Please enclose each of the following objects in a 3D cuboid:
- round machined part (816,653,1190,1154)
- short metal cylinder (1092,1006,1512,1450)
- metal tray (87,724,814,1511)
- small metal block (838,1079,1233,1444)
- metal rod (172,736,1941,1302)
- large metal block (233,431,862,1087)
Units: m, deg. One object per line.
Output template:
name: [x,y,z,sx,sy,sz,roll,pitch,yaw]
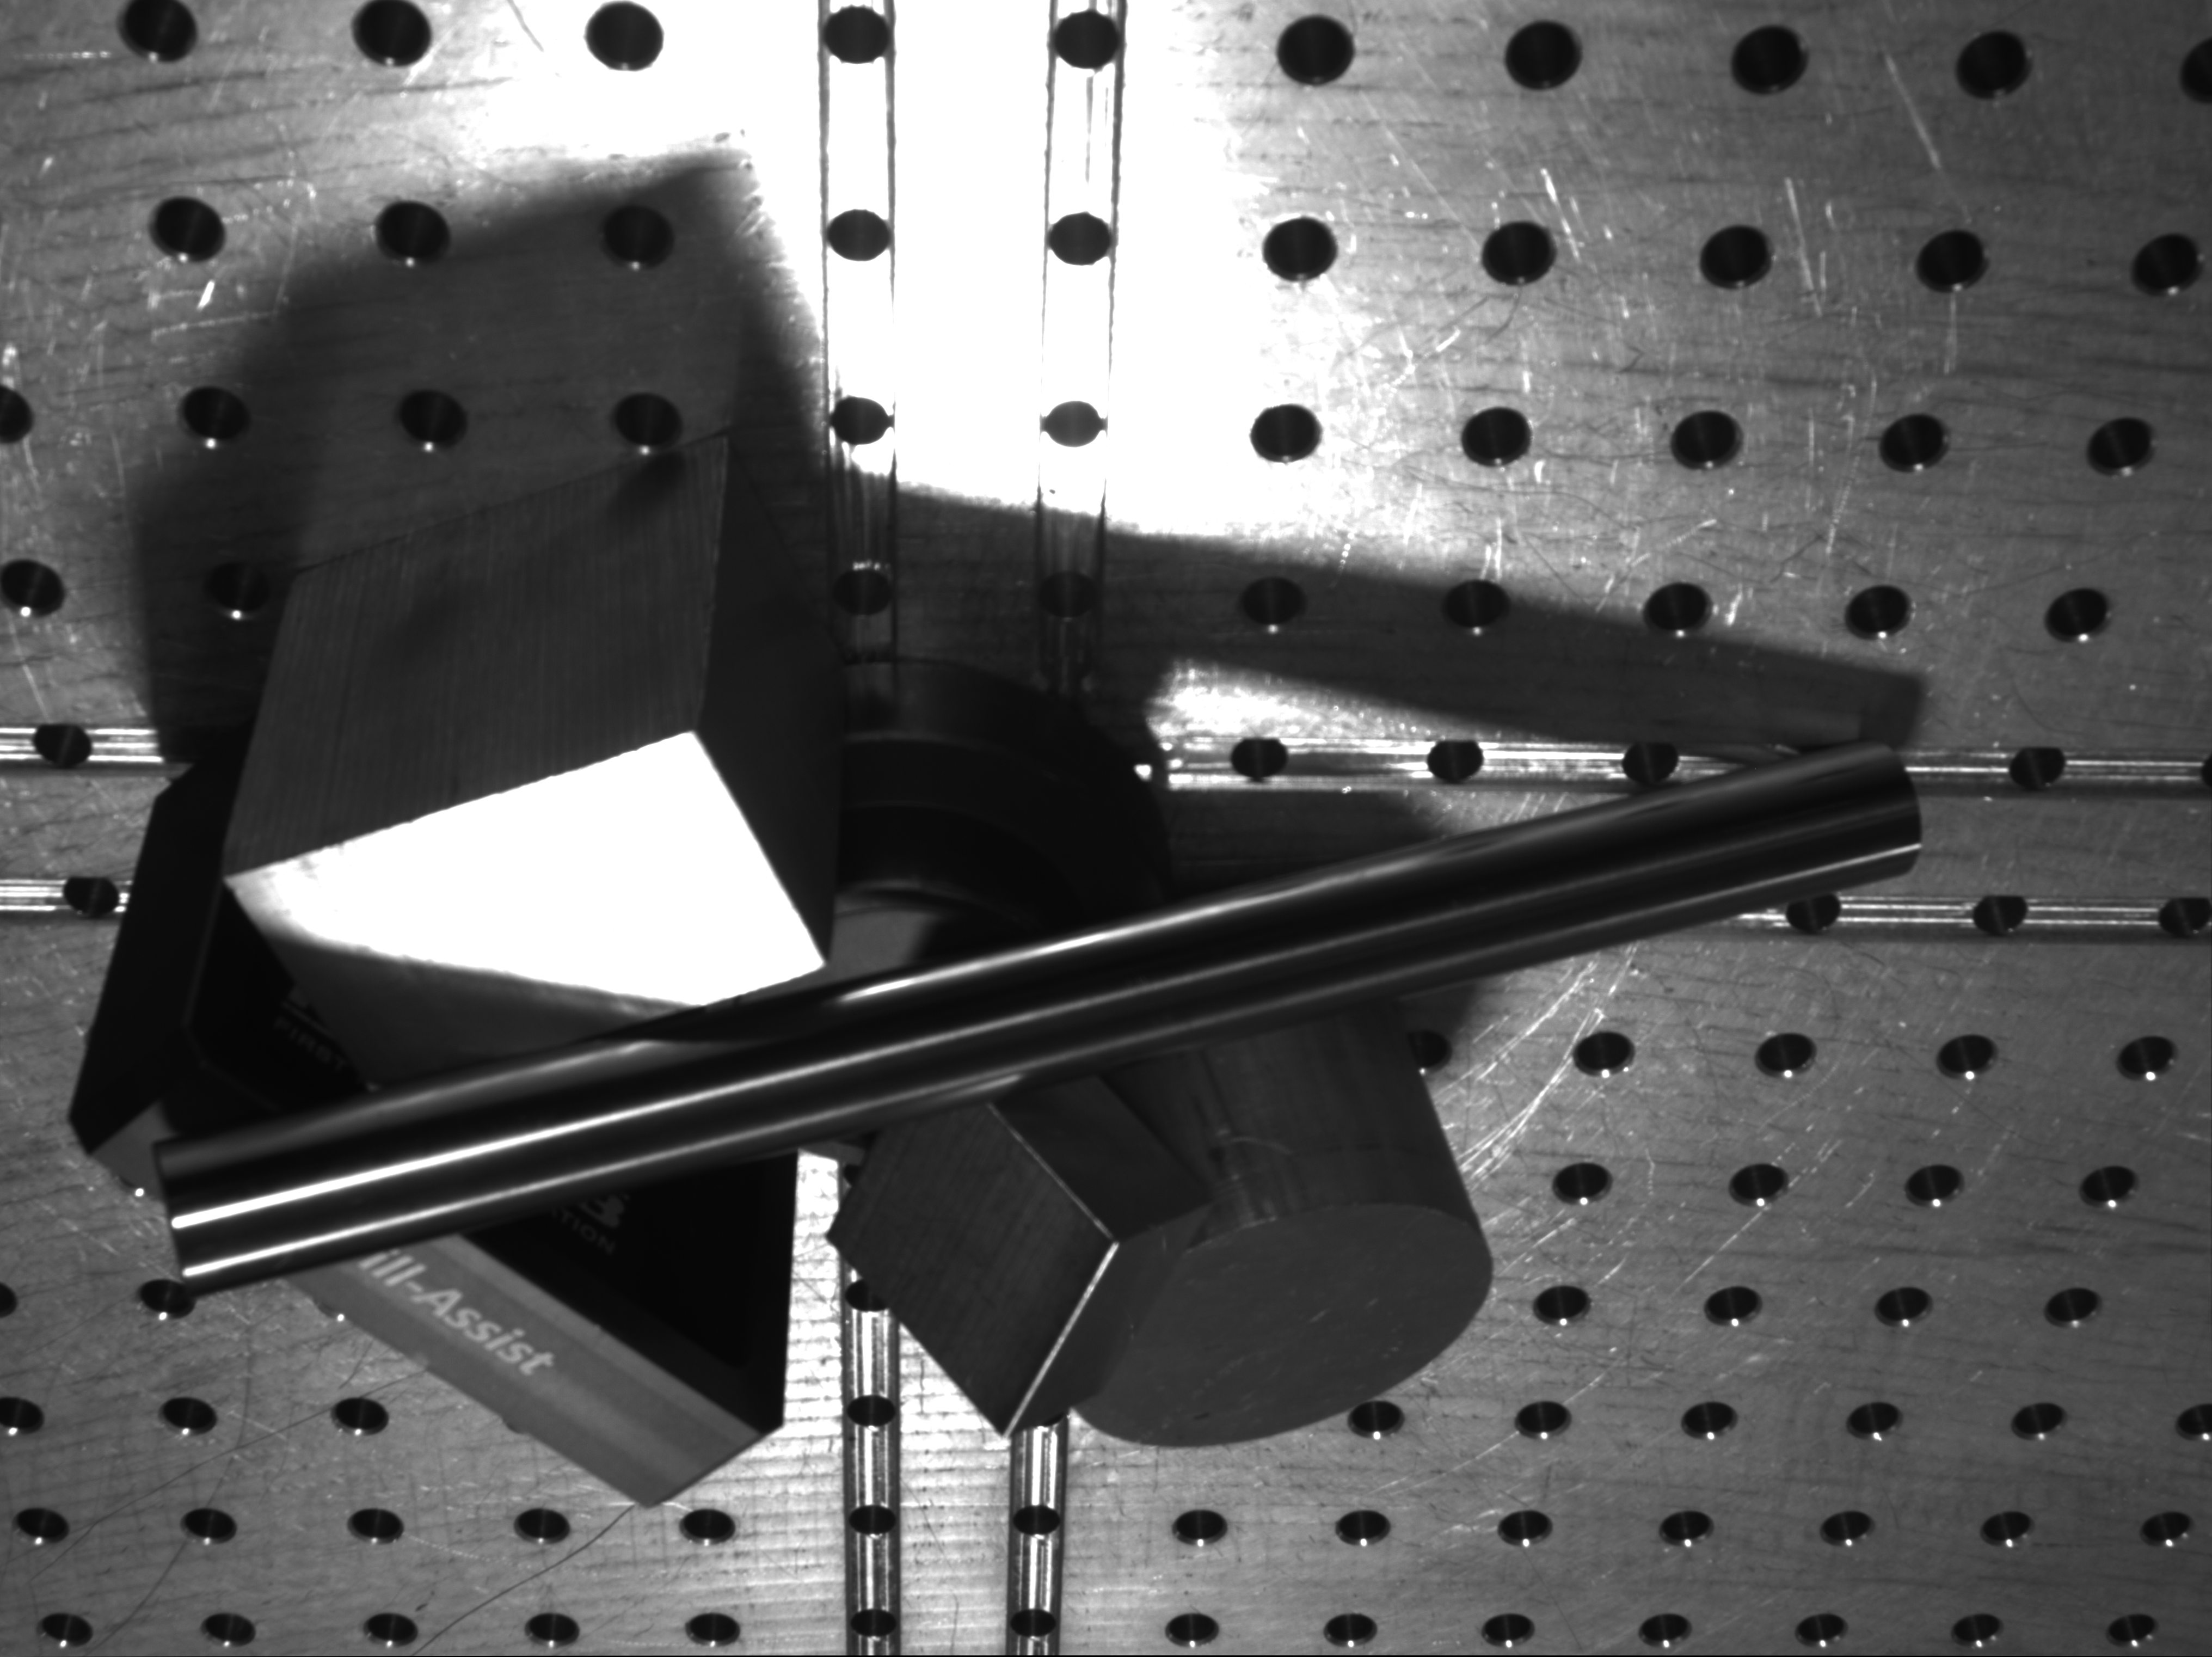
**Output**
round machined part: [-0.034,0.020,0.649,0.098,0.042,0.098,-1,130,-1]
short metal cylinder: [0.028,0.071,0.670,0.080,0.050,0.080,-13,144,-9]
metal tray: [-0.108,0.049,0.635,0.030,0.090,0.130,-35,122,25]
small metal block: [-0.013,0.067,0.624,0.025,0.050,0.050,-17,144,-46]
metal rod: [0.000,0.028,0.603,0.300,0.025,0.025,-13,132,-17]
large metal block: [-0.087,-0.010,0.592,0.080,0.080,0.050,-16,128,12]
